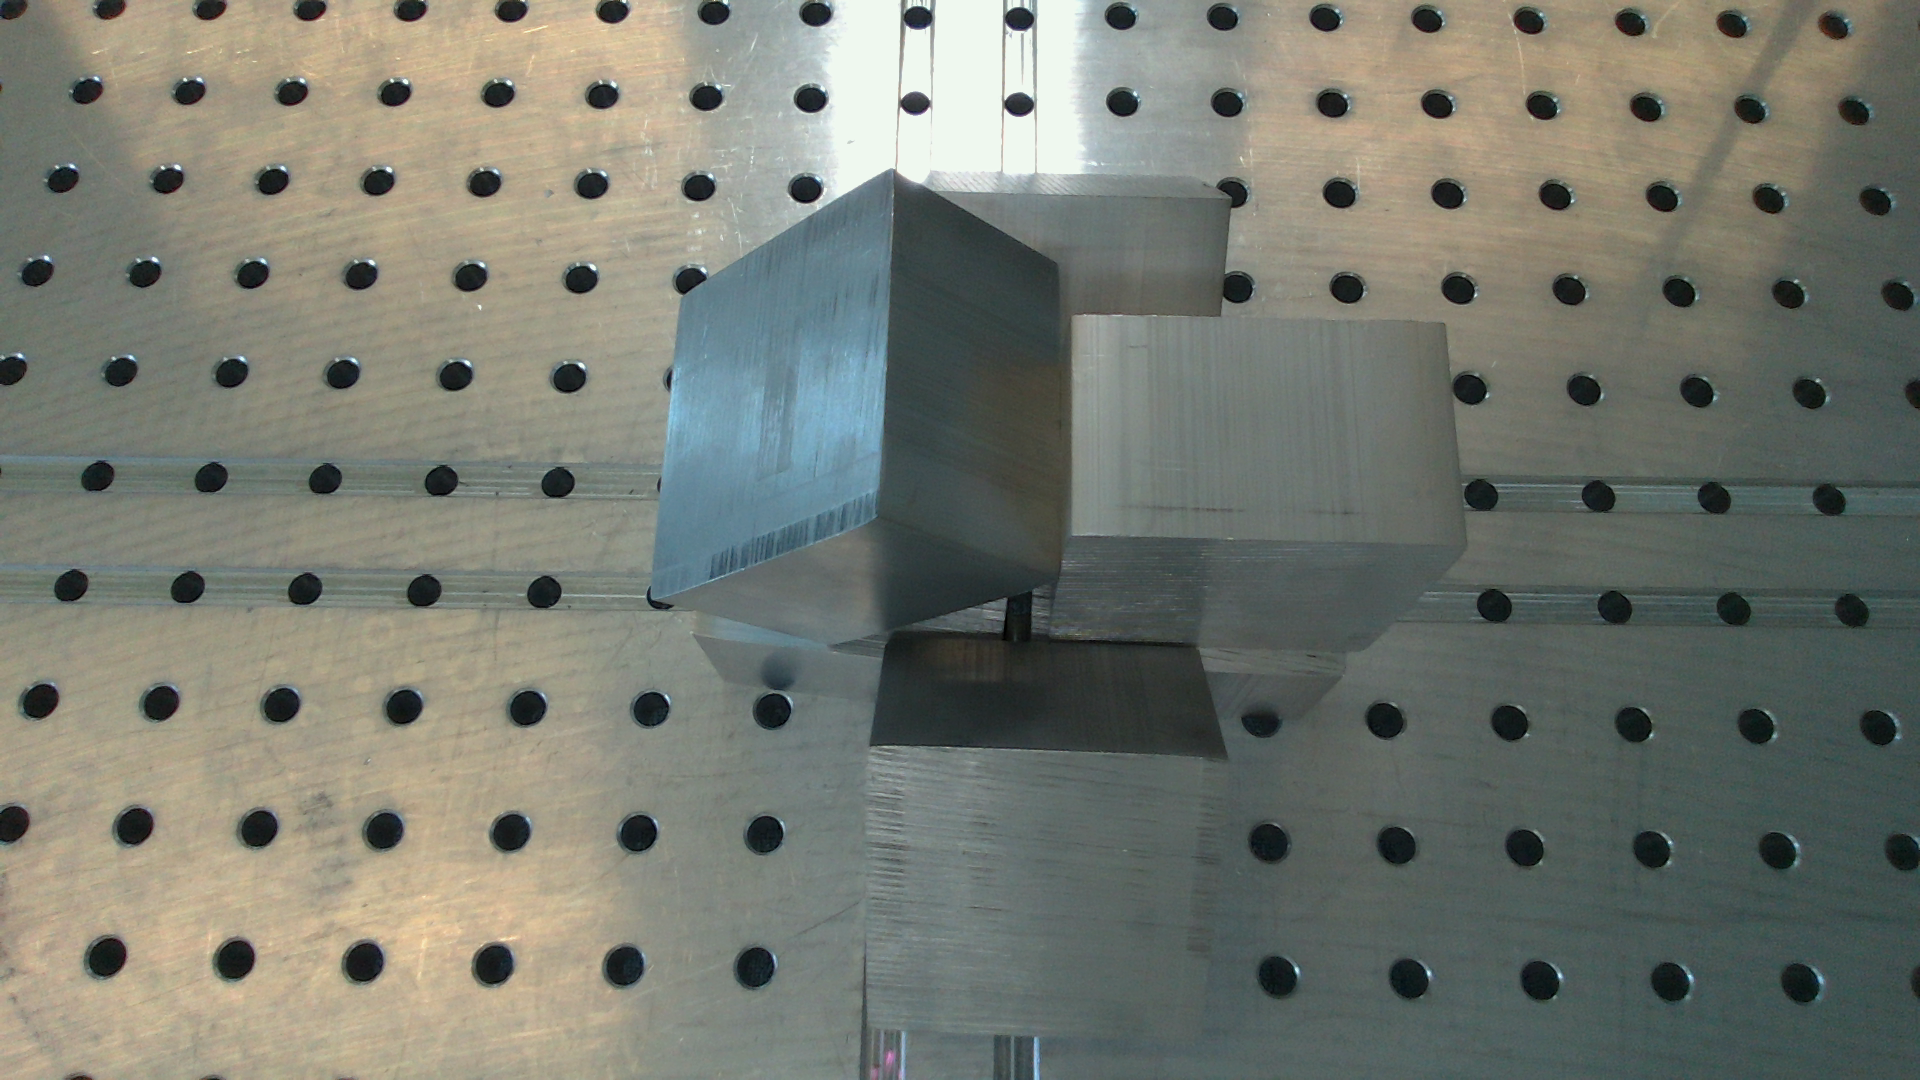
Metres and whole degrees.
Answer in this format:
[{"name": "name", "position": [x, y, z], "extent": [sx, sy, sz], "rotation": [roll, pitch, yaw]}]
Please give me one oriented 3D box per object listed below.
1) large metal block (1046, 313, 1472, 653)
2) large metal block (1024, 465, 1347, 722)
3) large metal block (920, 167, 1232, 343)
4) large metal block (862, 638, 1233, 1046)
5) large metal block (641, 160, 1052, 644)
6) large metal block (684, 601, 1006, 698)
[{"name": "large metal block", "position": [0.062, -0.009, 0.318], "extent": [0.080, 0.080, 0.050], "rotation": [2, 70, 0]}, {"name": "large metal block", "position": [0.059, 0.004, 0.382], "extent": [0.080, 0.050, 0.080], "rotation": [3, 70, 1]}, {"name": "large metal block", "position": [0.028, -0.076, 0.388], "extent": [0.080, 0.080, 0.050], "rotation": [2, 108, 1]}, {"name": "large metal block", "position": [0.019, 0.073, 0.335], "extent": [0.080, 0.050, 0.080], "rotation": [2, 114, 1]}, {"name": "large metal block", "position": [-0.026, -0.026, 0.315], "extent": [0.050, 0.080, 0.080], "rotation": [20, 63, -41]}, {"name": "large metal block", "position": [-0.025, 0.000, 0.384], "extent": [0.080, 0.050, 0.080], "rotation": [6, 70, 2]}]
